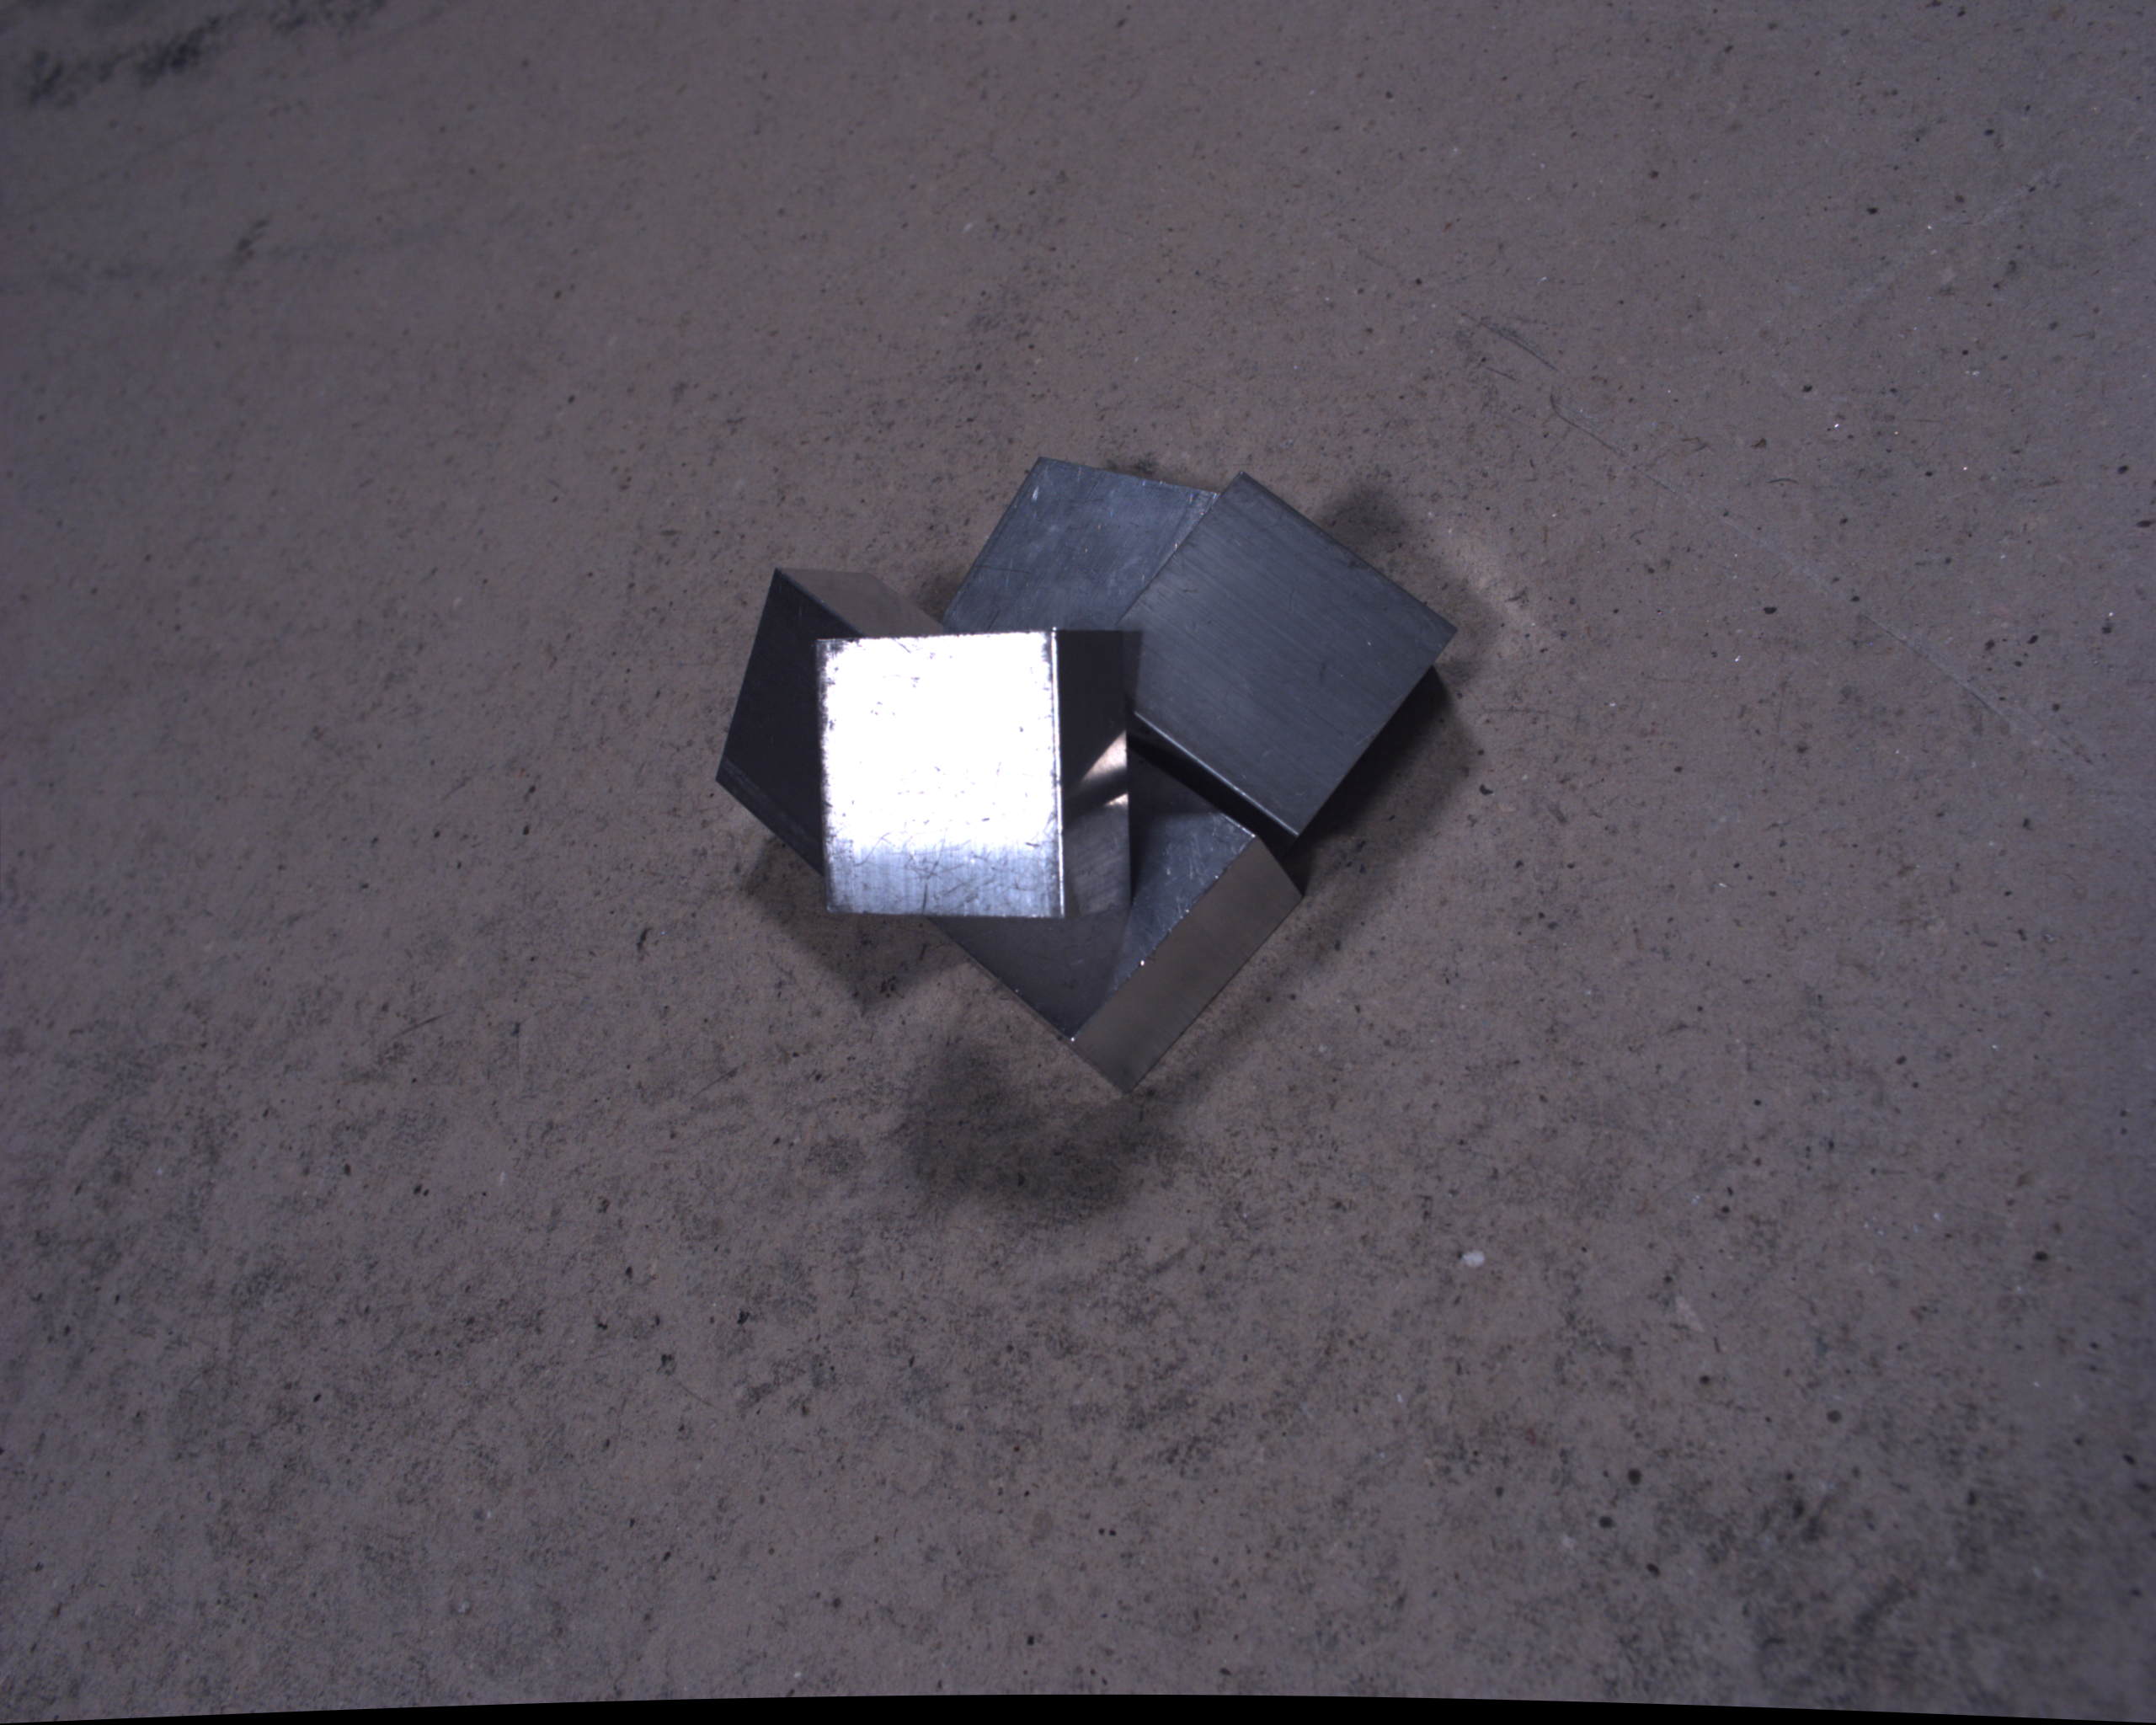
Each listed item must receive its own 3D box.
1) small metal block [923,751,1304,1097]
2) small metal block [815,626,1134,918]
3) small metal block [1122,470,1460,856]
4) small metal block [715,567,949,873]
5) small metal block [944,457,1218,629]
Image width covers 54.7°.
[{"bbox_3d":[0.005,0.008,0.397,0.050,0.025,0.050,-48,52,-6],"label":"small metal block"},{"bbox_3d":[-0.019,-0.016,0.377,0.050,0.025,0.050,0,94,28],"label":"small metal block"},{"bbox_3d":[0.035,-0.037,0.394,0.050,0.025,0.050,37,81,4],"label":"small metal block"},{"bbox_3d":[-0.045,-0.027,0.429,0.050,0.025,0.050,38,119,37],"label":"small metal block"},{"bbox_3d":[0.004,-0.053,0.435,0.050,0.025,0.050,19,71,35],"label":"small metal block"}]
